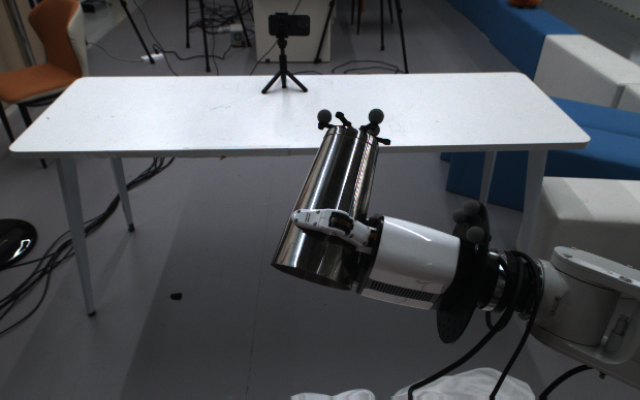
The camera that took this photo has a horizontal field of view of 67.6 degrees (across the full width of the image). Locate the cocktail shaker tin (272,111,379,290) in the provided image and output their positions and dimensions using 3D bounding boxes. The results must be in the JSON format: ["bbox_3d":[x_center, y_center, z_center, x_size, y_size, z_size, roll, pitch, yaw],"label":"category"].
[{"bbox_3d":[0.015,0.007,0.549,0.093,0.093,0.170,13,74,15],"label":"cocktail shaker tin"}]
